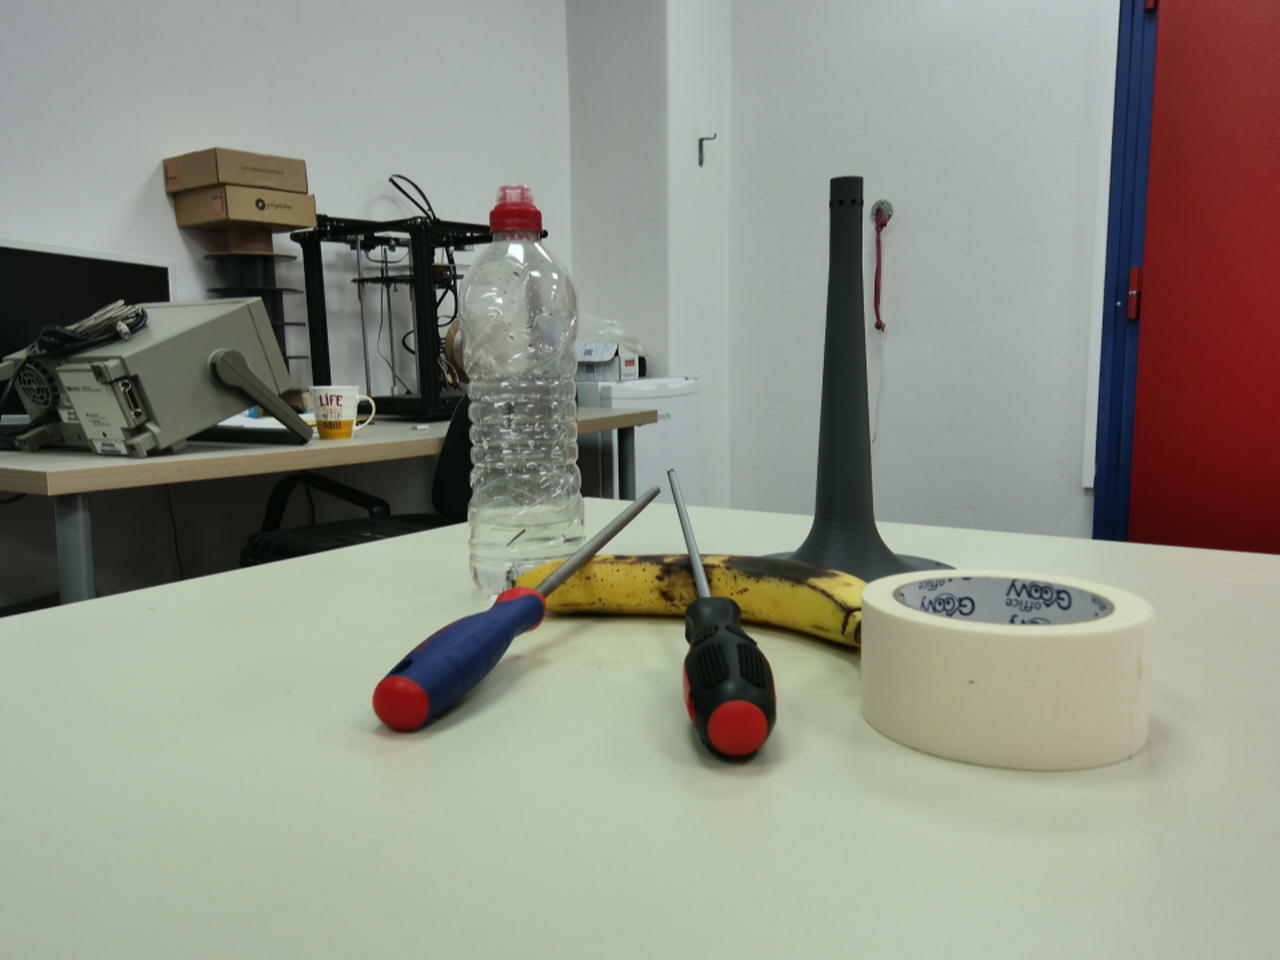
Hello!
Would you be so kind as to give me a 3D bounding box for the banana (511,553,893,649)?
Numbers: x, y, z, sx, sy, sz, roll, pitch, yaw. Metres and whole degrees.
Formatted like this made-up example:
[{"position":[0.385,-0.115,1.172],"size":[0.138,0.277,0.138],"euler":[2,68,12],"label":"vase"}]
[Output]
[{"position":[0.037,0.061,0.535],"size":[0.222,0.037,0.084],"euler":[4,7,36],"label":"banana"}]
